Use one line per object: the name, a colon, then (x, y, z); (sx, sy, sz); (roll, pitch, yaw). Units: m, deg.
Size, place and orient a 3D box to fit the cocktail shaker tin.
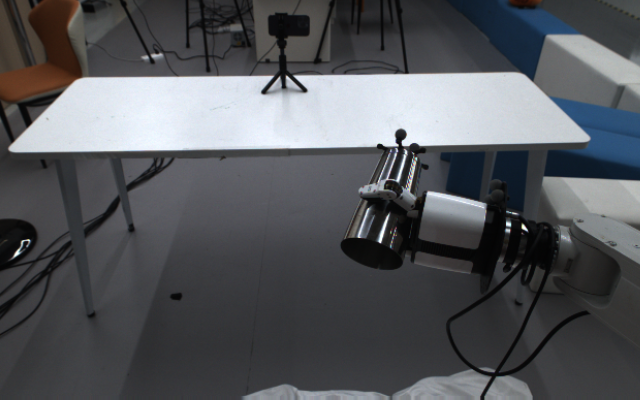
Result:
cocktail shaker tin: (0.098, 0.007, 0.718); (0.093, 0.093, 0.170); (14, 61, 17)
